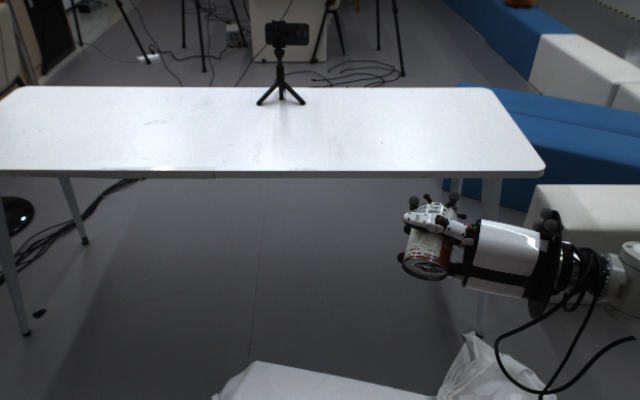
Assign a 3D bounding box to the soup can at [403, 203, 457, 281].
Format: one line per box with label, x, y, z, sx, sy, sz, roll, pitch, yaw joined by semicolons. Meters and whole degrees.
soup can;0.168;0.060;0.736;0.067;0.067;0.101;12;59;14
